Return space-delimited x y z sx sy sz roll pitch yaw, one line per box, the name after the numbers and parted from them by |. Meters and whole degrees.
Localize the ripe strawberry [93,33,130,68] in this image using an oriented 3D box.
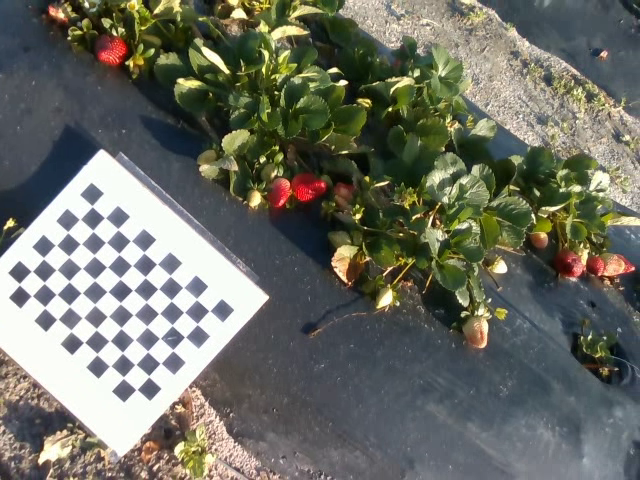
-0.296 -0.265 0.878 0.052 0.041 0.052 12 29 0 | ripe strawberry
